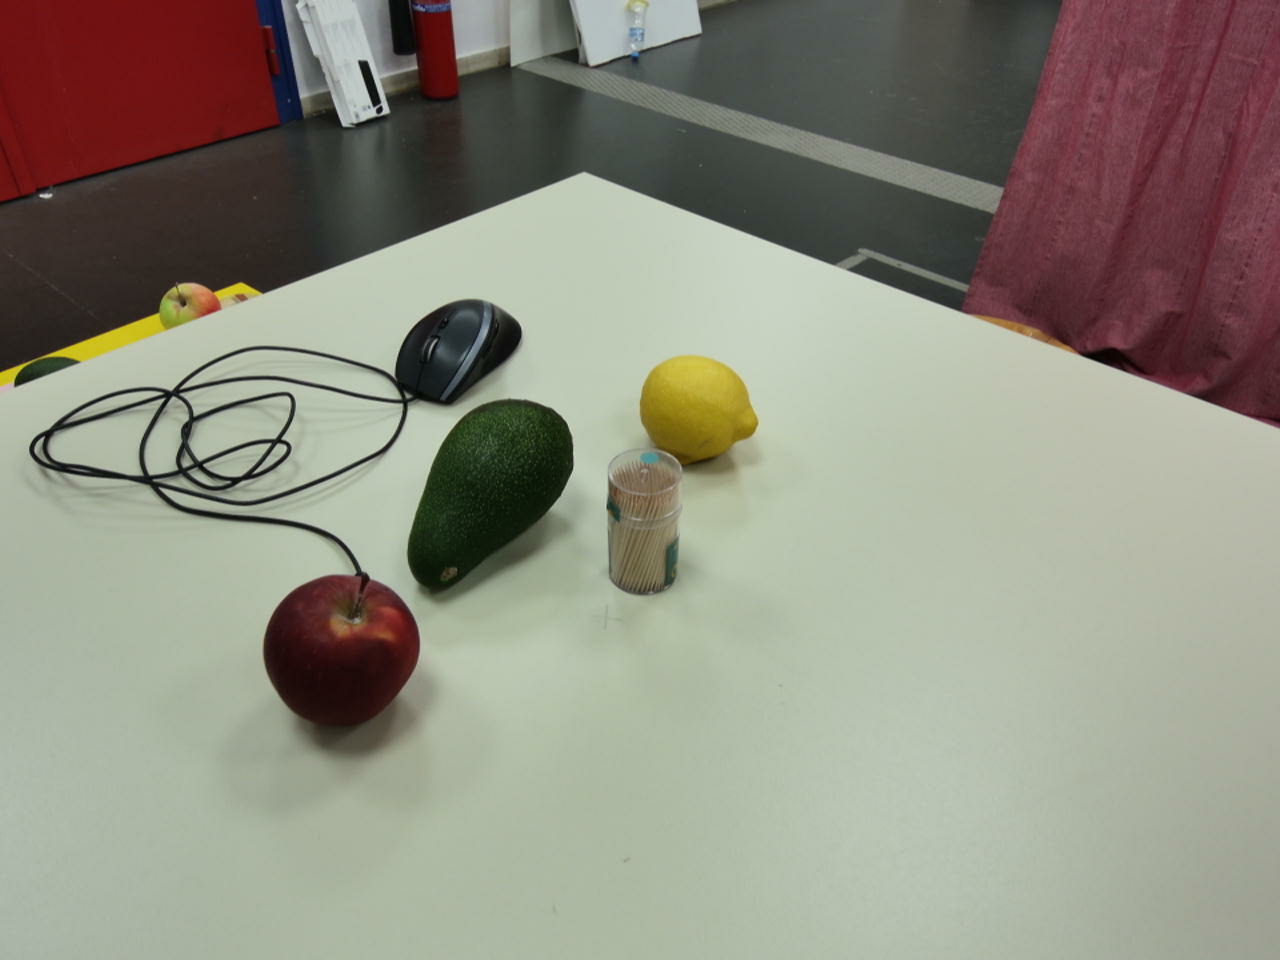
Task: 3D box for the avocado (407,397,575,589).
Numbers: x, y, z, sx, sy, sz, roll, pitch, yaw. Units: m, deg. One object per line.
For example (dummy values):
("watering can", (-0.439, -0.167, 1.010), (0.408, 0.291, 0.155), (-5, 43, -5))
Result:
("avocado", (-0.091, -0.001, 0.567), (0.123, 0.076, 0.074), (-28, 46, -33))
